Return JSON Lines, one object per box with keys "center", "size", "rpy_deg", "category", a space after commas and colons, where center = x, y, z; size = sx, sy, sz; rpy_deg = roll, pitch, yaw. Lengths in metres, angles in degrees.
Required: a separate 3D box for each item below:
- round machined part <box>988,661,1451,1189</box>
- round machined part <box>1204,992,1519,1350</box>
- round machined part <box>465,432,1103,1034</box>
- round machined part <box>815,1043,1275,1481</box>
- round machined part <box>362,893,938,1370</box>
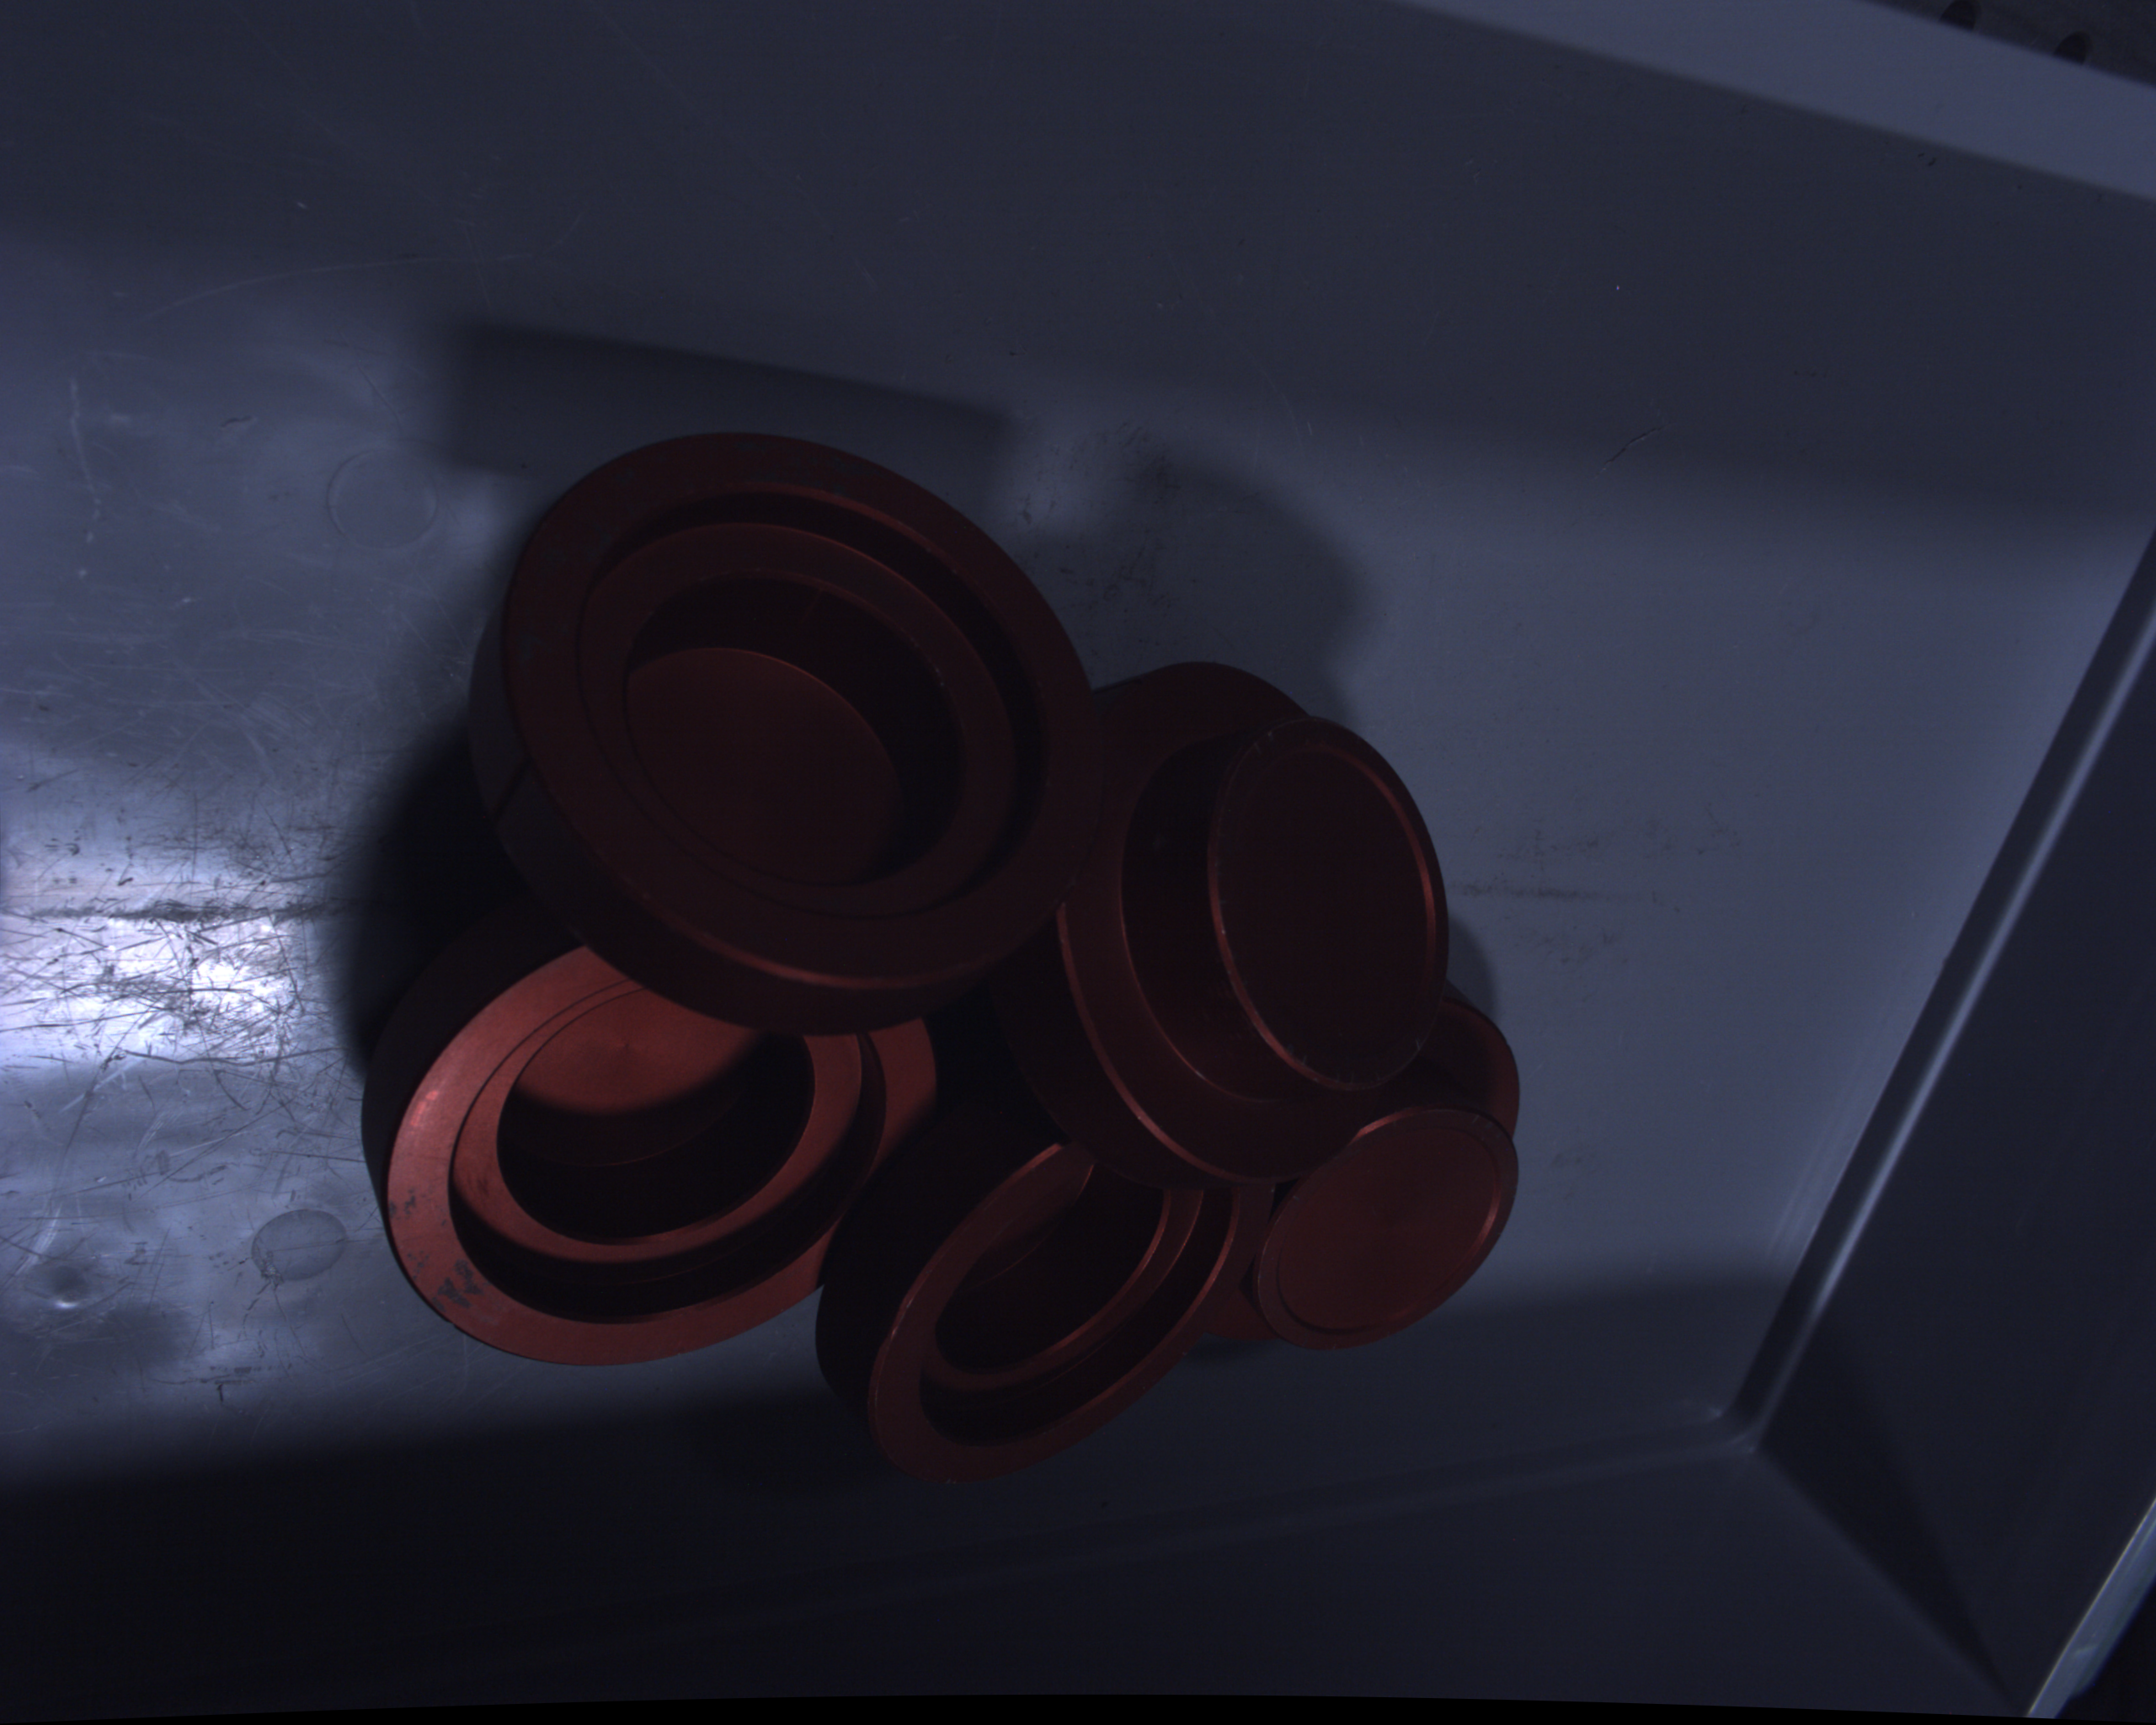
{"center": [0.032, 0.010, 0.385], "size": [0.099, 0.042, 0.098], "rpy_deg": [14, 70, -43], "category": "round machined part"}
{"center": [0.060, 0.071, 0.474], "size": [0.099, 0.042, 0.097], "rpy_deg": [-14, 125, -21], "category": "round machined part"}
{"center": [-0.049, -0.017, 0.336], "size": [0.099, 0.098, 0.042], "rpy_deg": [2, 153, -30], "category": "round machined part"}
{"center": [-0.011, 0.074, 0.422], "size": [0.099, 0.042, 0.097], "rpy_deg": [-26, 139, -25], "category": "round machined part"}
{"center": [-0.079, 0.040, 0.378], "size": [0.099, 0.042, 0.097], "rpy_deg": [-14, 125, -21], "category": "round machined part"}
